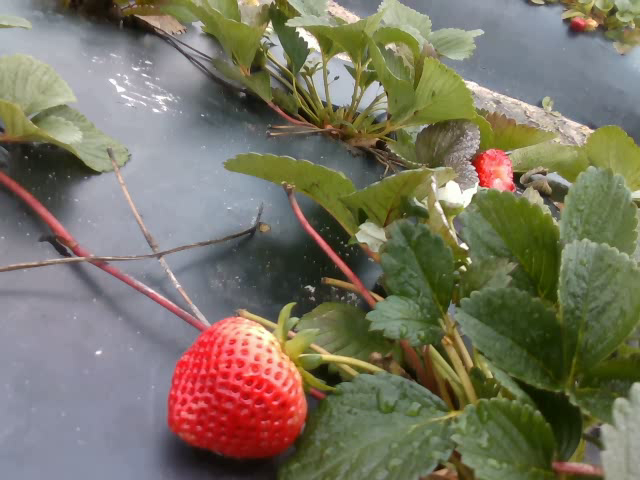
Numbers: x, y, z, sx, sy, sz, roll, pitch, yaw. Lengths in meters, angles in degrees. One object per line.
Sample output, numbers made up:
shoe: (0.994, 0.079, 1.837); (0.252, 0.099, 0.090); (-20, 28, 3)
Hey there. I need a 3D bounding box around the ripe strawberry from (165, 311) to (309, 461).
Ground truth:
ripe strawberry: (-0.036, 0.055, 0.239); (0.064, 0.062, 0.050); (-38, -14, -19)
